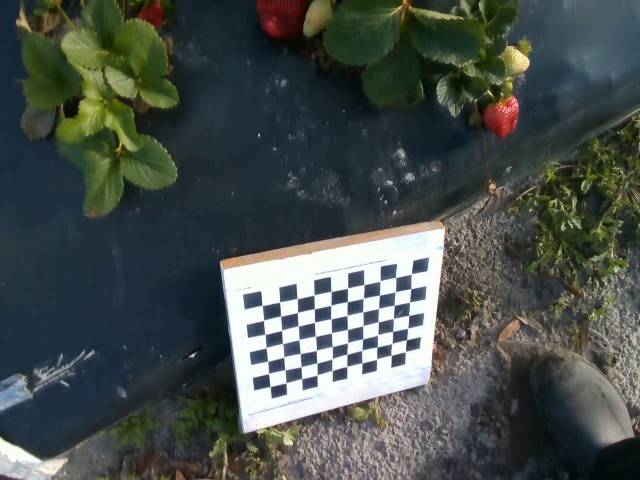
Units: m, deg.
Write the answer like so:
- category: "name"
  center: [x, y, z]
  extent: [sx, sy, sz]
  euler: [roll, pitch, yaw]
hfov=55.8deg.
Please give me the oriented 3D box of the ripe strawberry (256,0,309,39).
- category: "ripe strawberry"
  center: [-0.048, -0.252, 0.679]
  extent: [0.070, 0.058, 0.057]
  euler: [-17, 37, -41]

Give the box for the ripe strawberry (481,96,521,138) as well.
- category: "ripe strawberry"
  center: [0.228, -0.149, 0.725]
  extent: [0.047, 0.050, 0.035]
  euler: [-27, 29, -3]
